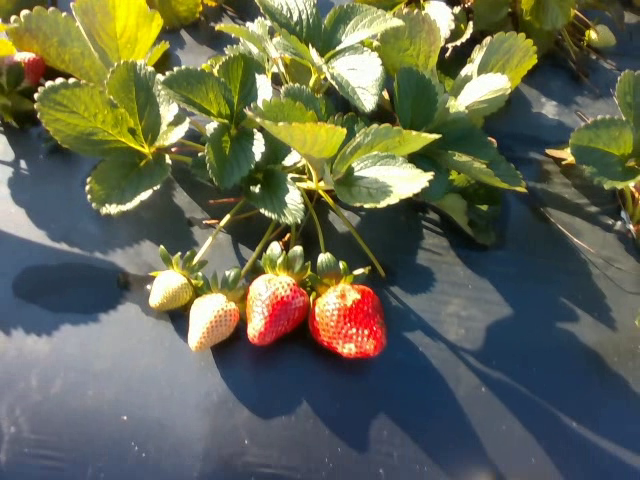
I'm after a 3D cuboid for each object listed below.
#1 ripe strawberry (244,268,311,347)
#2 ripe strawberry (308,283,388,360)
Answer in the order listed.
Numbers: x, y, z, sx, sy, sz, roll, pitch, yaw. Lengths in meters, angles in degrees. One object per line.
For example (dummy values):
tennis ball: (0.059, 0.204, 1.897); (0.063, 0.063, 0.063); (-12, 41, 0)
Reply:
ripe strawberry: (-0.030, 0.045, 0.381); (0.050, 0.061, 0.044); (37, -44, -7)
ripe strawberry: (0.023, 0.055, 0.380); (0.052, 0.056, 0.067); (53, -1, -42)
